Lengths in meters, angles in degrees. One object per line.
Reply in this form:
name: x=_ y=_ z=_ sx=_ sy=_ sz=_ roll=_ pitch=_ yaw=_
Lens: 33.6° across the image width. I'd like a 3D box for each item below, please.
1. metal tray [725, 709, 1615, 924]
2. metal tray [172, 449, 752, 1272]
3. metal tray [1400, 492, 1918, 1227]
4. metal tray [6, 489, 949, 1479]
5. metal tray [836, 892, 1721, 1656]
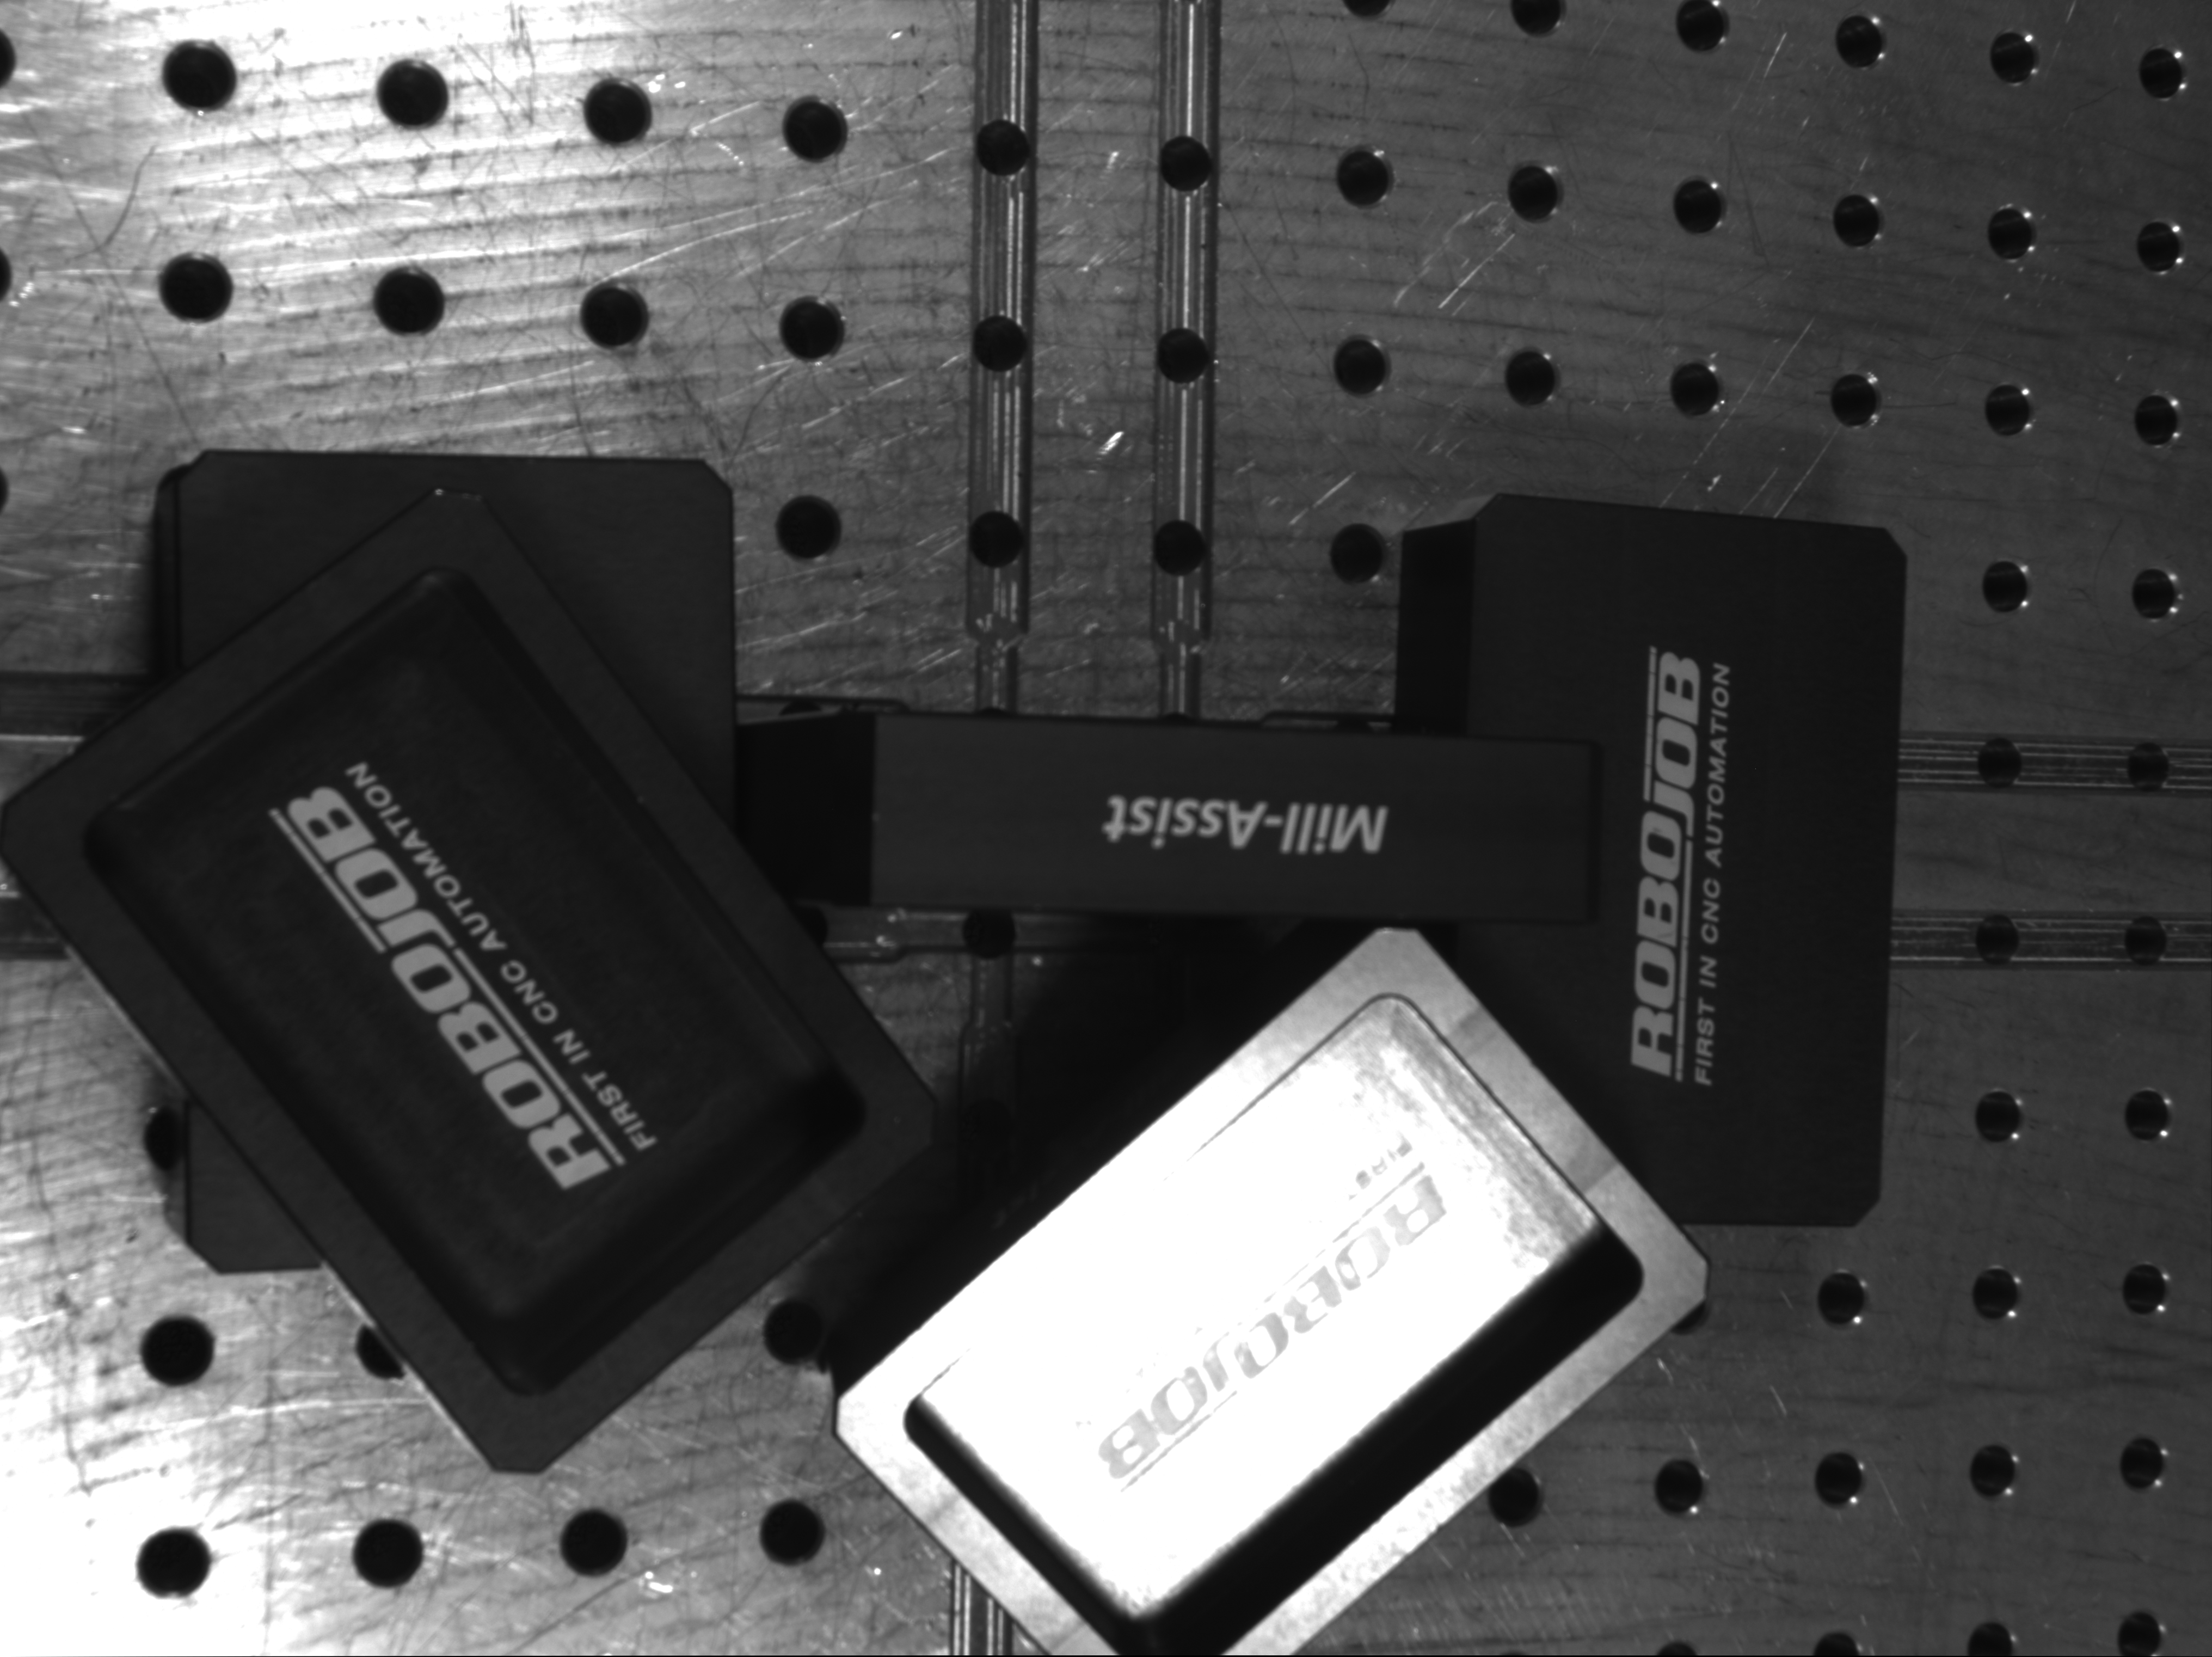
metal tray: x=0.008 y=-0.001 z=0.613 sx=0.130 sy=0.090 sz=0.030 roll=2 pitch=89 yaw=-20
metal tray: x=-0.106 y=0.004 z=0.605 sx=0.090 sy=0.030 sz=0.130 roll=-1 pitch=91 yaw=-19
metal tray: x=0.101 y=0.007 z=0.679 sx=0.090 sy=0.030 sz=0.130 roll=3 pitch=89 yaw=-20
metal tray: x=-0.098 y=0.024 z=0.574 sx=0.090 sy=0.030 sz=0.130 roll=-39 pitch=103 yaw=-16
metal tray: x=0.029 y=0.085 z=0.634 sx=0.130 sy=0.030 sz=0.090 roll=-41 pitch=104 yaw=2
